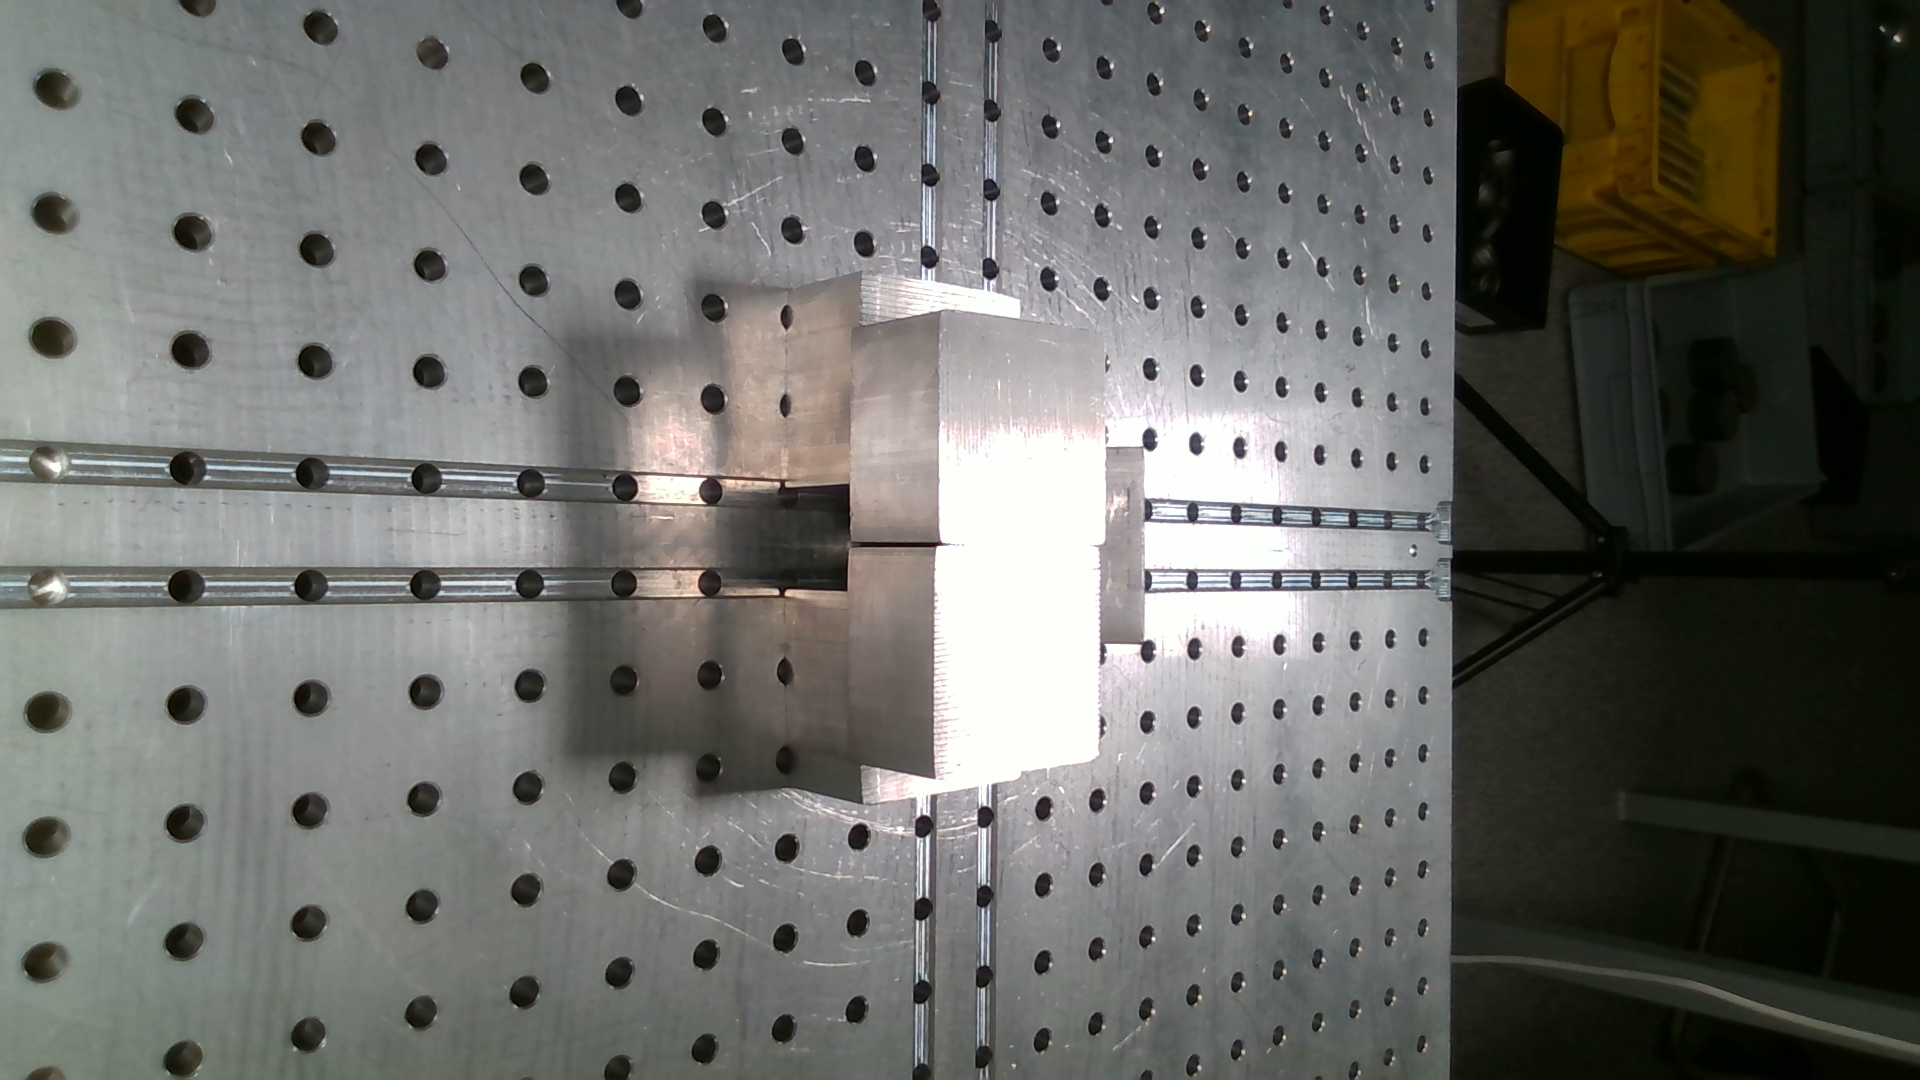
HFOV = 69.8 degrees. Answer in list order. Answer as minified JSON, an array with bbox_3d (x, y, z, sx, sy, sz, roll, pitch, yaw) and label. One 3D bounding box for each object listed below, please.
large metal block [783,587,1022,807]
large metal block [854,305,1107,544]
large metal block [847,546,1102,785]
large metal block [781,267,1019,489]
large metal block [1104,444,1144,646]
[{"bbox_3d":[-0.022,0.058,0.550,0.080,0.050,0.080,-1,91,-40],"label":"large metal block"},{"bbox_3d":[0.008,-0.039,0.508,0.080,0.050,0.080,0,90,-40],"label":"large metal block"},{"bbox_3d":[0.006,0.042,0.507,0.080,0.050,0.080,0,90,-40],"label":"large metal block"},{"bbox_3d":[-0.023,-0.059,0.551,0.080,0.050,0.080,2,89,-40],"label":"large metal block"},{"bbox_3d":[0.053,0.002,0.588,0.080,0.050,0.080,1,90,-82],"label":"large metal block"}]
